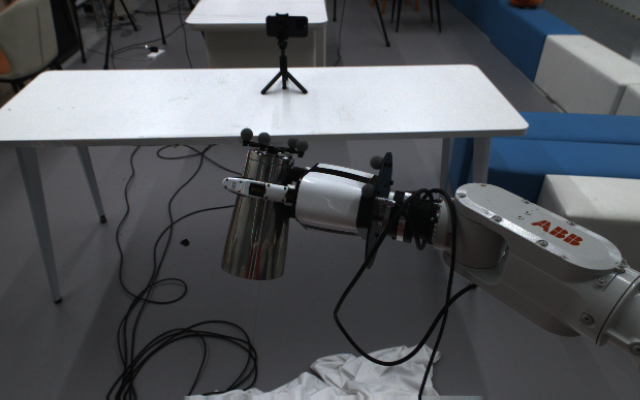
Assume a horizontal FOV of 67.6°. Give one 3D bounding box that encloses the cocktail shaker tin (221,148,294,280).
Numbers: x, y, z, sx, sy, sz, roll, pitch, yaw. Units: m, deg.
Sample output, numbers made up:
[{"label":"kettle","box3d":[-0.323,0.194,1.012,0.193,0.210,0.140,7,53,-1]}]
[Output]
[{"label":"cocktail shaker tin","box3d":[-0.080,0.015,0.688,0.093,0.170,0.093,10,9,-2]}]
